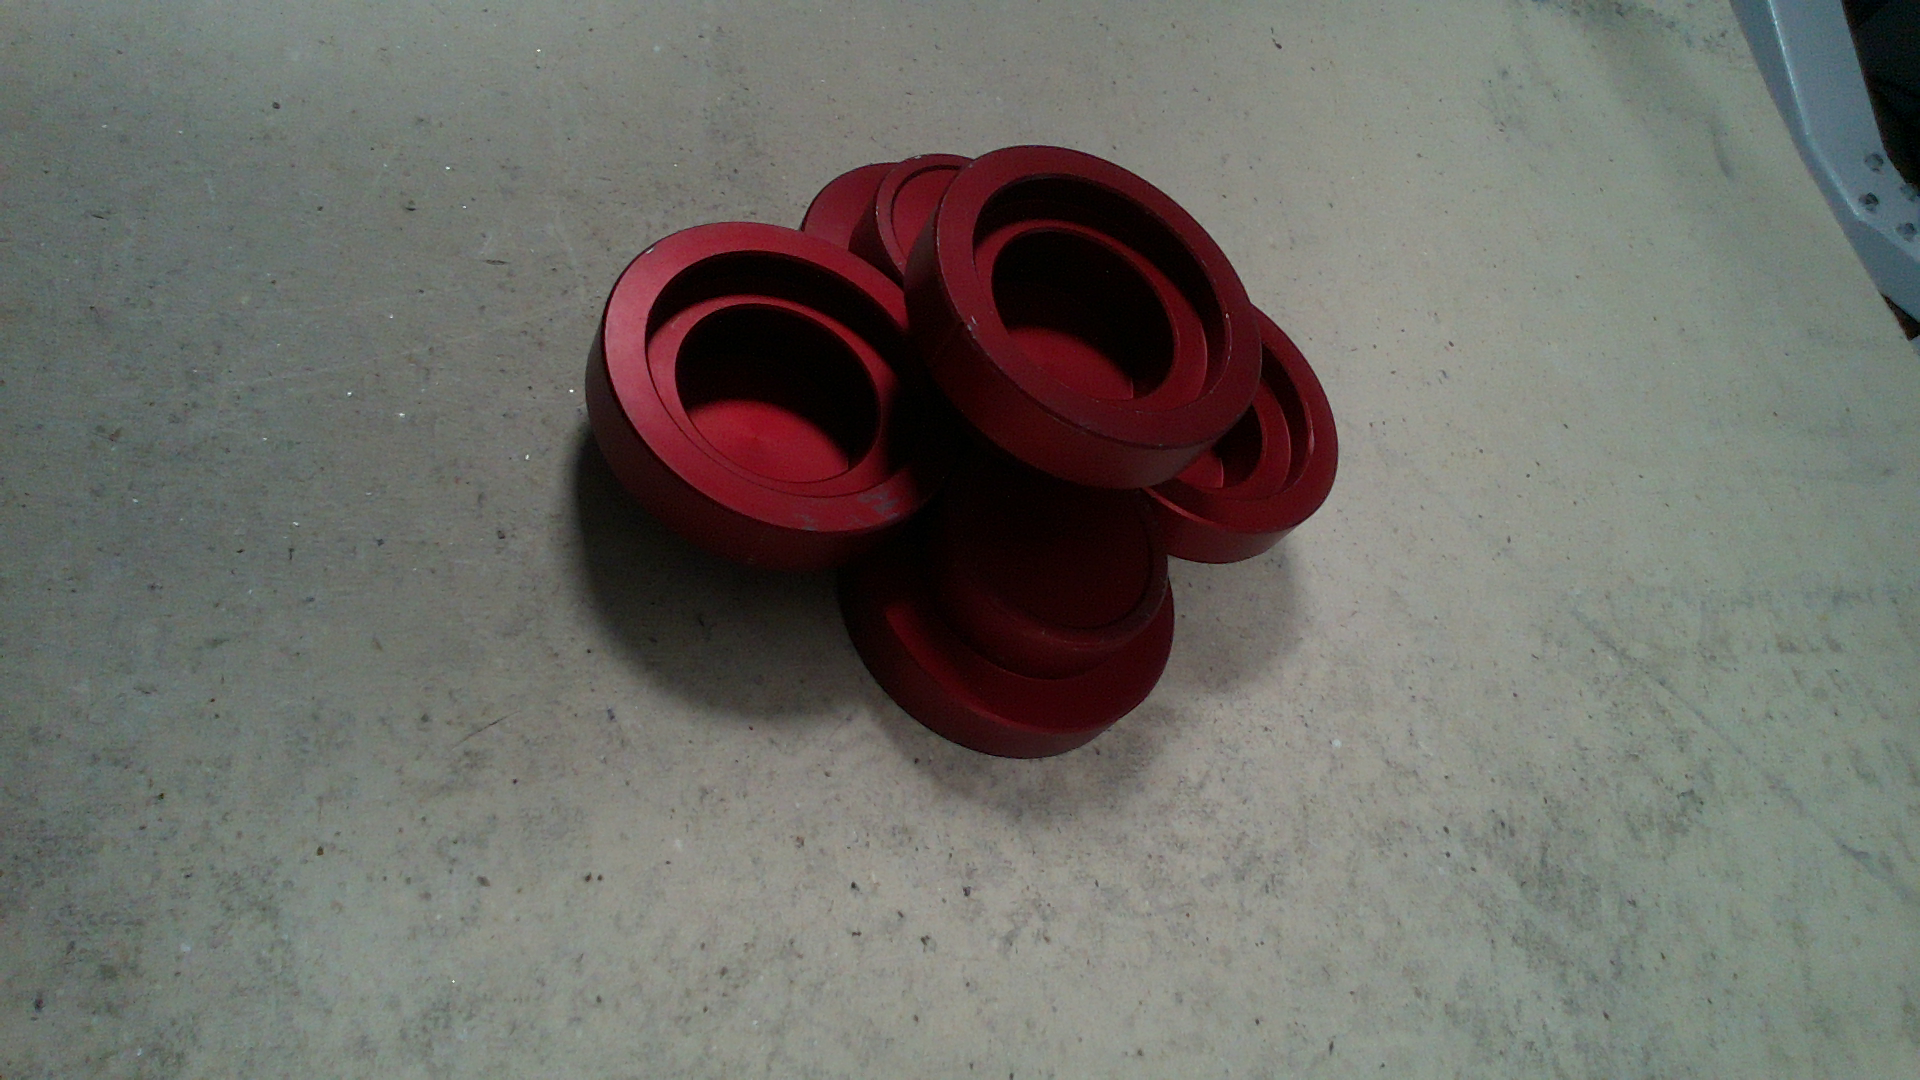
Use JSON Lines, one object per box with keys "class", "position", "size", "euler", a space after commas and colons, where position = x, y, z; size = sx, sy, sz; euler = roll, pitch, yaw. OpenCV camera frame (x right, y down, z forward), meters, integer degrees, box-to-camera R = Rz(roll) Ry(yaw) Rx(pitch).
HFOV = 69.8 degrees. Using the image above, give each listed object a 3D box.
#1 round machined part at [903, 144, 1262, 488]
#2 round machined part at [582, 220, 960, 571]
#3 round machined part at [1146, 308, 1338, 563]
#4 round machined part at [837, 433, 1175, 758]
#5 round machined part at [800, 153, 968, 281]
{"class": "round machined part", "position": [0.030, -0.056, 0.375], "size": [0.098, 0.042, 0.098], "euler": [14, 56, -21]}
{"class": "round machined part", "position": [-0.052, -0.035, 0.372], "size": [0.098, 0.042, 0.098], "euler": [14, 56, -21]}
{"class": "round machined part", "position": [0.067, -0.036, 0.437], "size": [0.098, 0.042, 0.098], "euler": [14, 56, -21]}
{"class": "round machined part", "position": [0.019, 0.008, 0.384], "size": [0.098, 0.042, 0.098], "euler": [14, 56, -21]}
{"class": "round machined part", "position": [-0.003, -0.080, 0.426], "size": [0.098, 0.042, 0.098], "euler": [14, 56, -21]}
